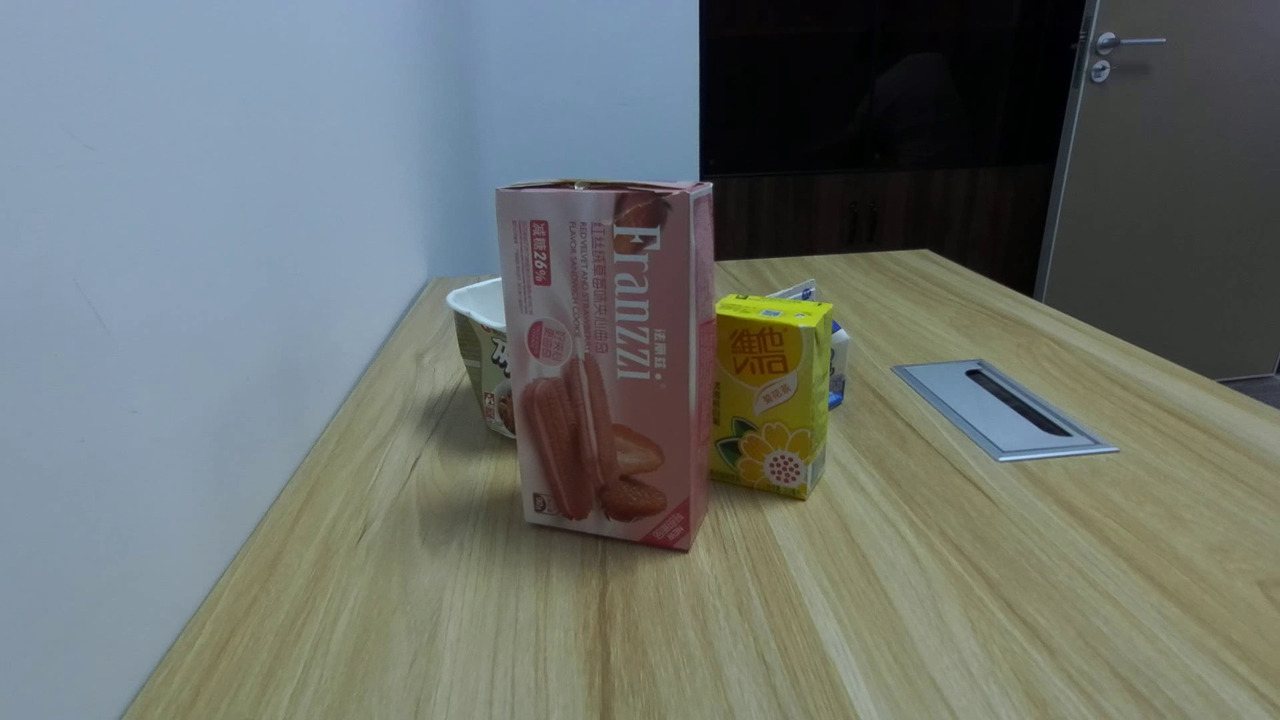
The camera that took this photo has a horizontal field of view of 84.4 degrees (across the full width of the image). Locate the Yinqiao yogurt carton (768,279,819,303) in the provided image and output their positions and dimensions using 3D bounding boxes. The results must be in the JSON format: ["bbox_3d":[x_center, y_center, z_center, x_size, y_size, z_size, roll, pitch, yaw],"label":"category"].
[{"bbox_3d":[0.102,-0.009,0.510,0.078,0.094,0.070,-23,36,-34],"label":"Yinqiao yogurt carton"}]

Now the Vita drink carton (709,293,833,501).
[{"bbox_3d":[0.074,0.021,0.414,0.066,0.109,0.044,9,25,26],"label":"Vita drink carton"}]

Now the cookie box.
[{"bbox_3d":[-0.011,0.001,0.365,0.105,0.187,0.049,5,21,19],"label":"cookie box"}]
